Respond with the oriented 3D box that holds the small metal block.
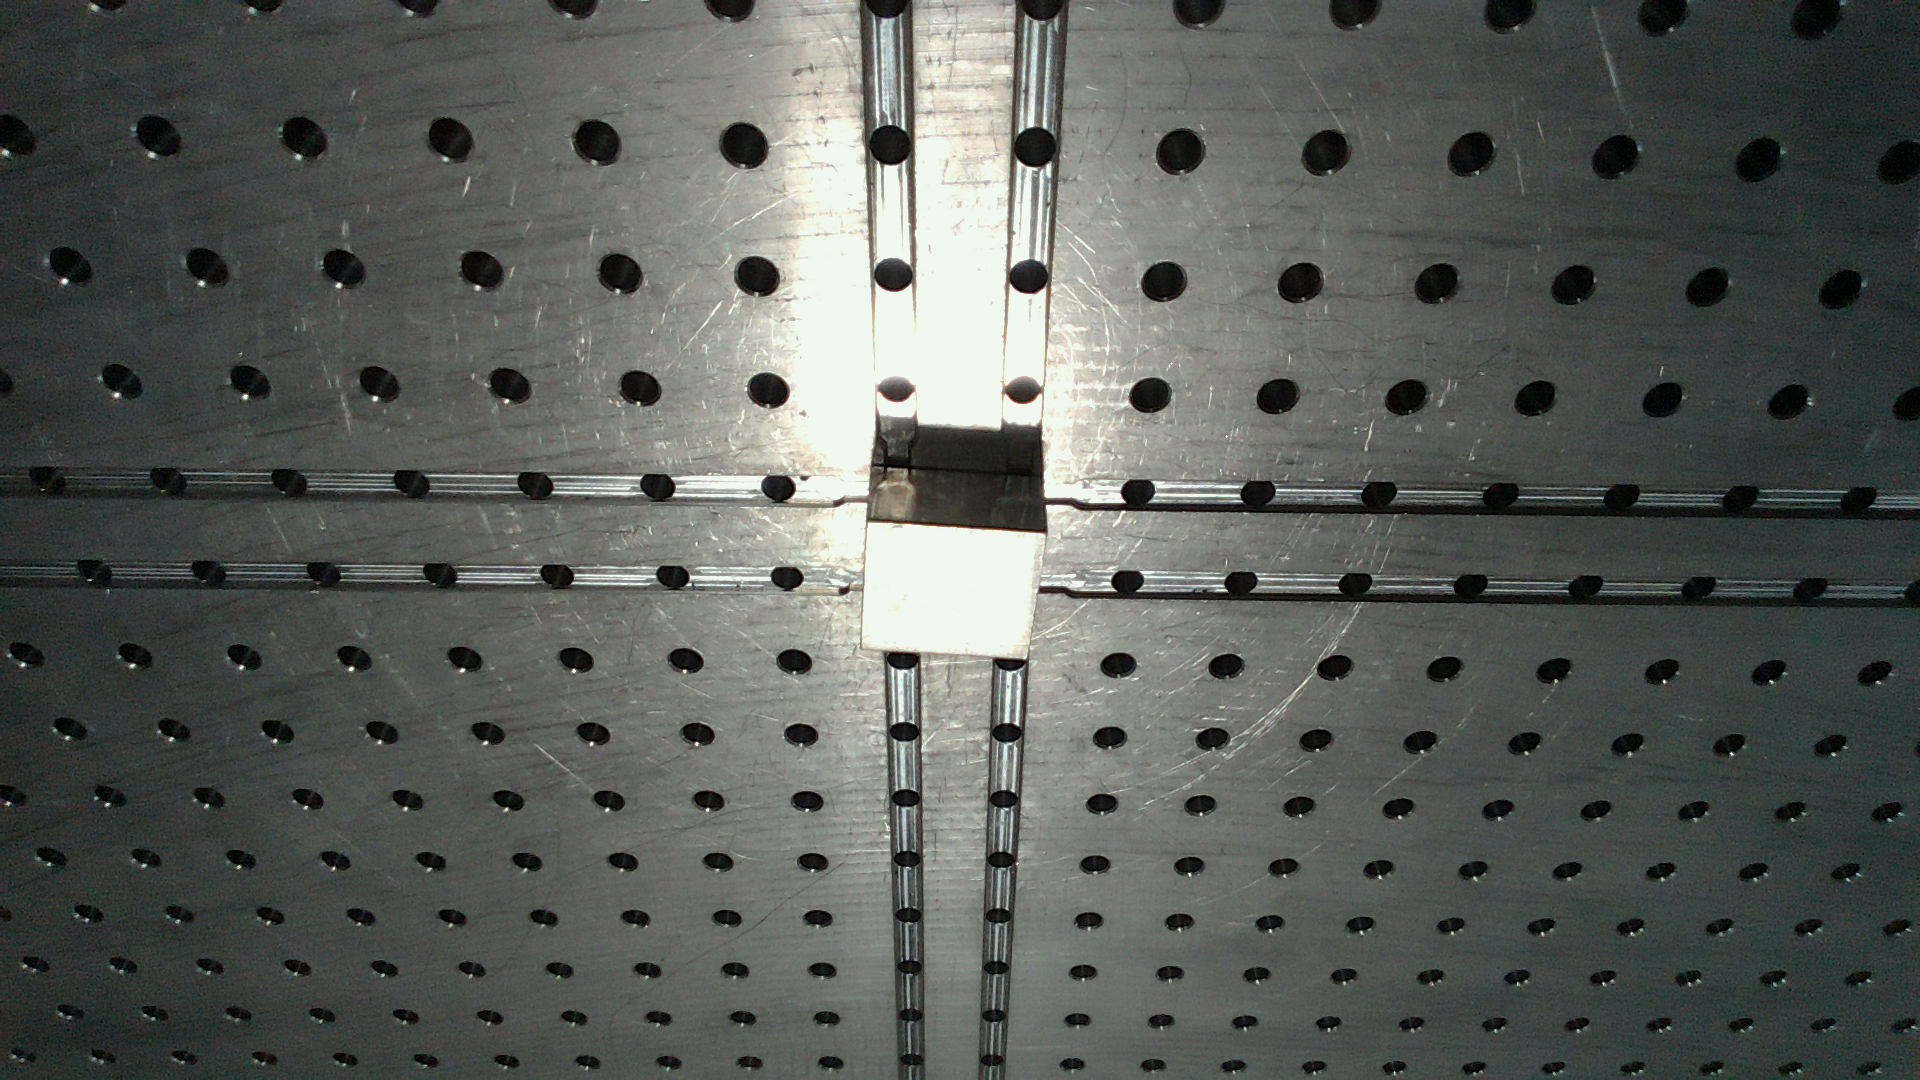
[{"bbox_3d":[-0.003,0.007,0.399,0.050,0.025,0.050,4,130,-3],"label":"small metal block"}]
